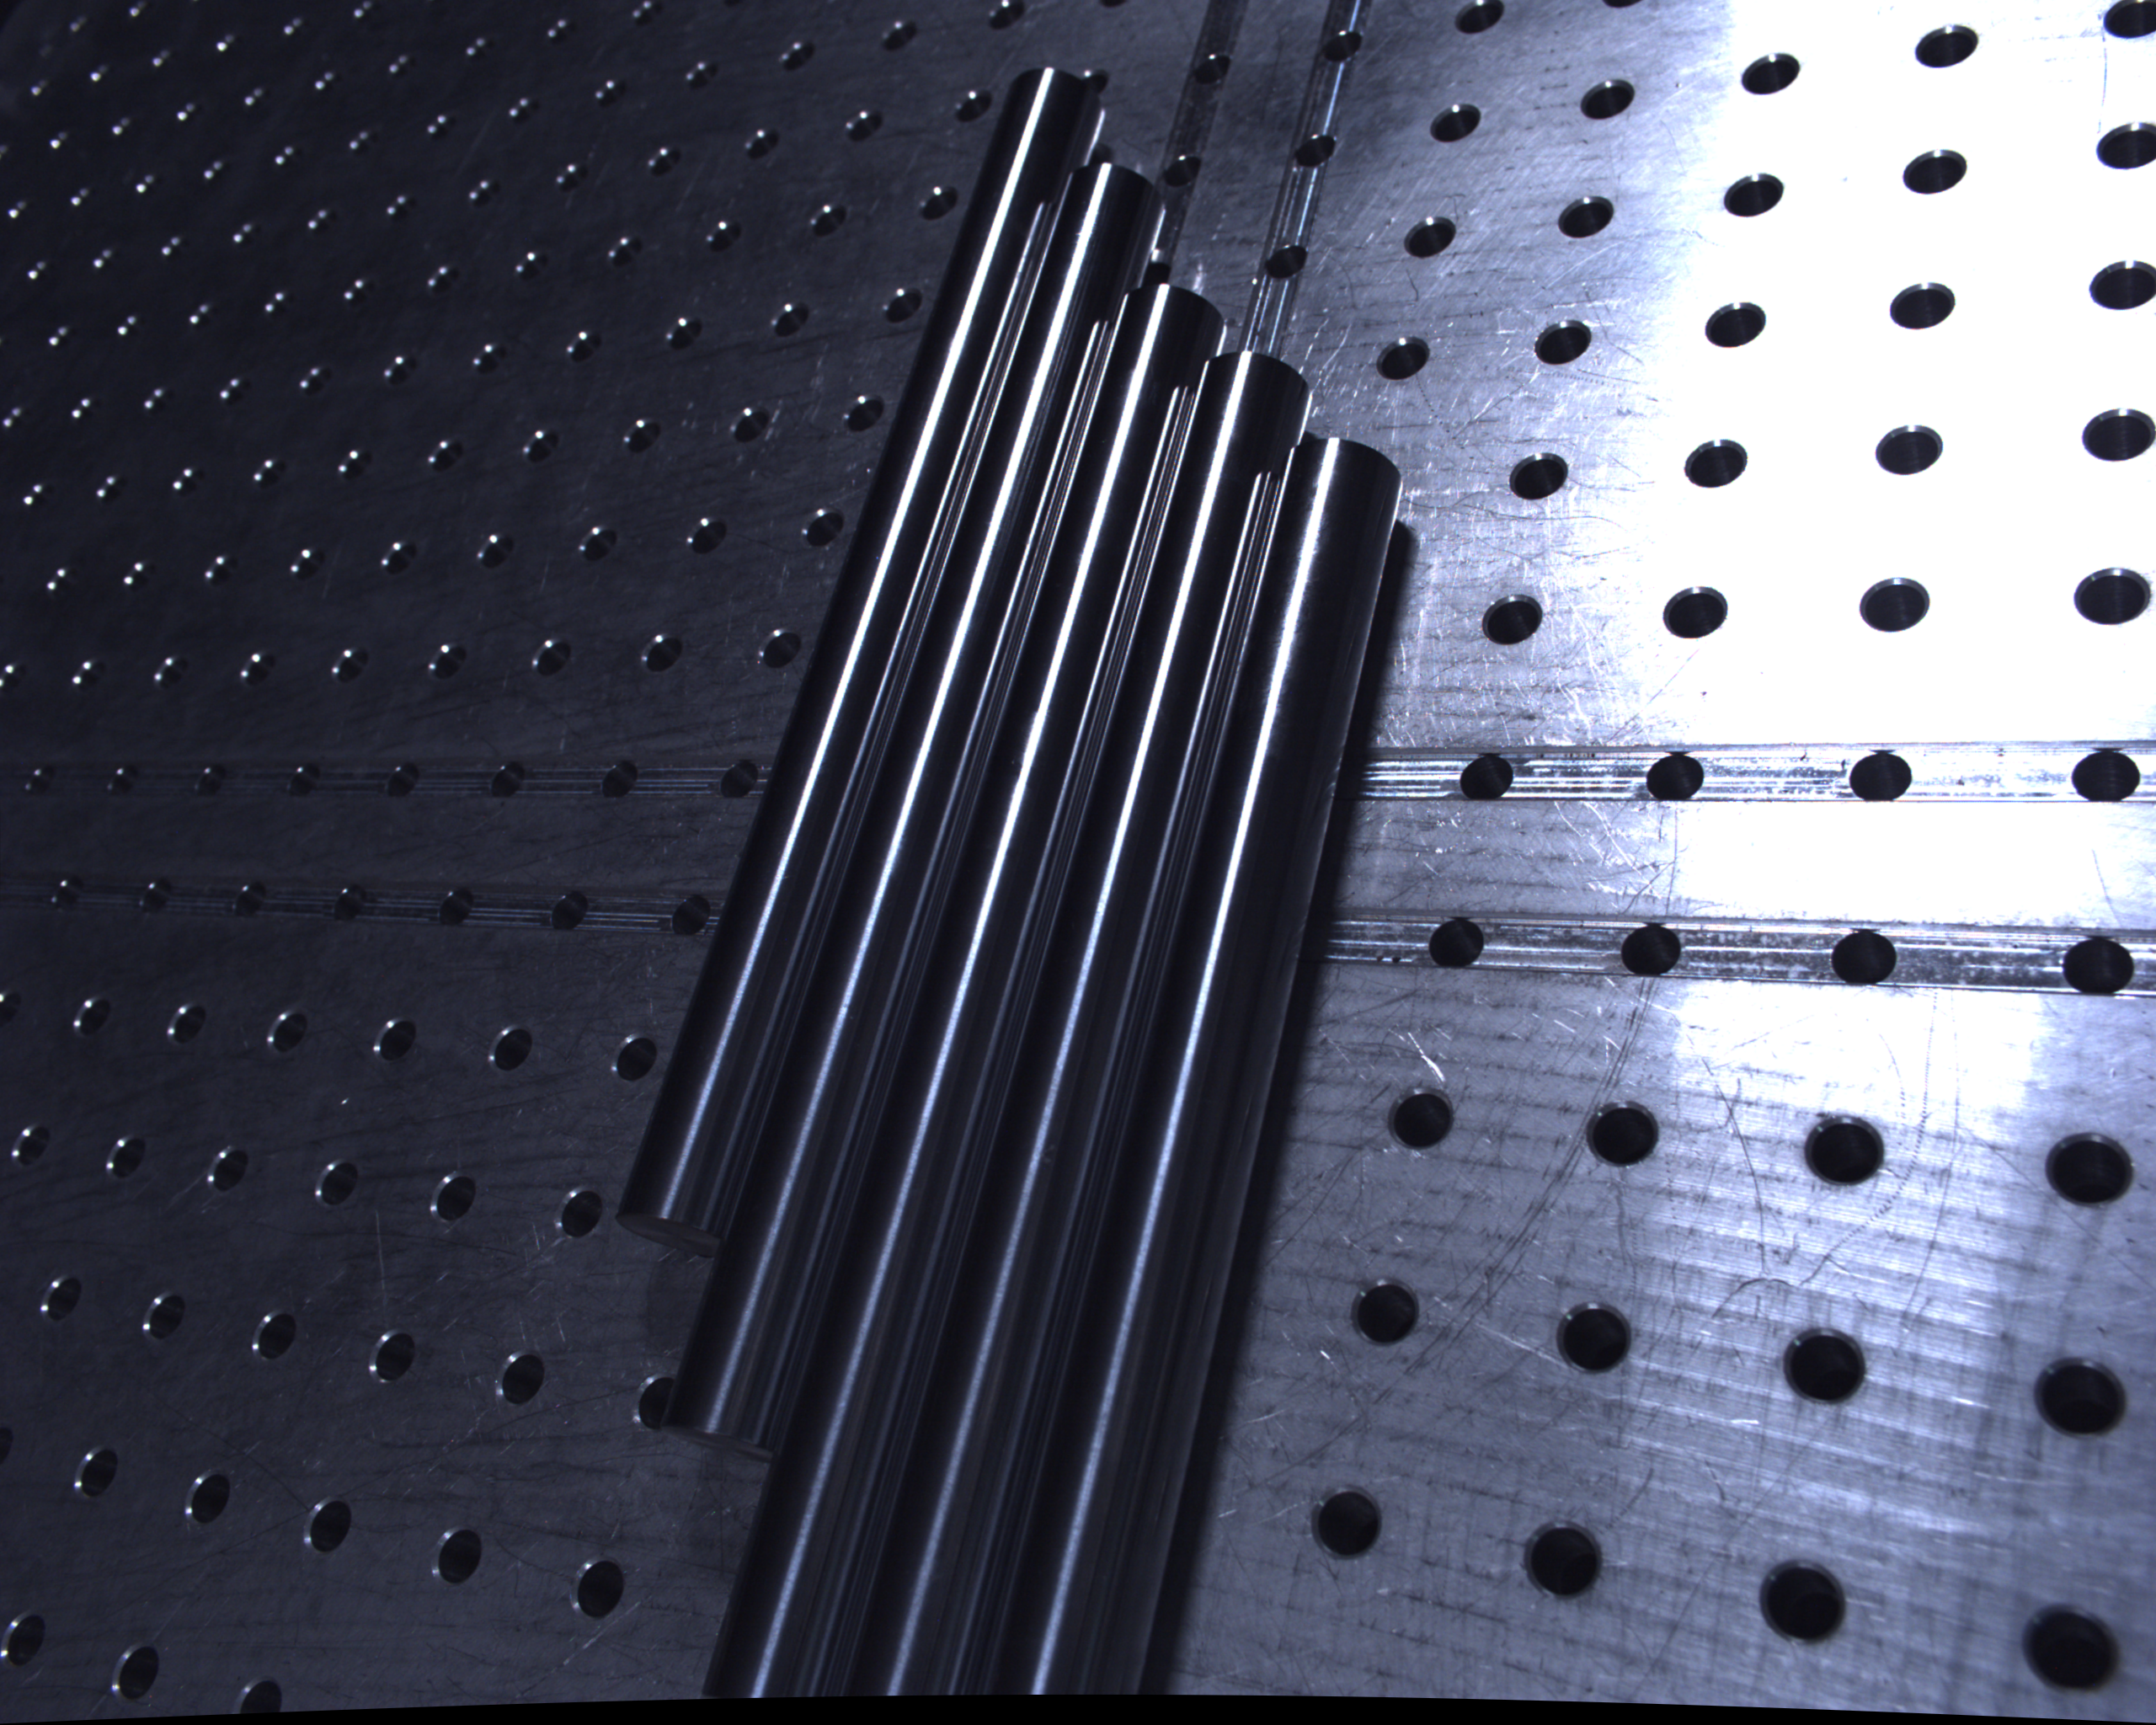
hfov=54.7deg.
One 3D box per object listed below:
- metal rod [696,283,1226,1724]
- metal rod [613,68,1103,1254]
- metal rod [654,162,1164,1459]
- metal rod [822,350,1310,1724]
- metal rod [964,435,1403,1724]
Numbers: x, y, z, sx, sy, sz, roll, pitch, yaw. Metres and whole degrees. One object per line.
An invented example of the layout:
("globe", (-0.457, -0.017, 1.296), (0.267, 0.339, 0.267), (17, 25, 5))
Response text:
("metal rod", (-0.015, 0.010, 0.408), (0.025, 0.025, 0.300), (1, 62, 28))
("metal rod", (-0.042, -0.059, 0.464), (0.025, 0.025, 0.300), (1, 62, 28))
("metal rod", (-0.028, -0.027, 0.436), (0.025, 0.025, 0.300), (1, 62, 28))
("metal rod", (0.001, 0.029, 0.387), (0.025, 0.025, 0.300), (1, 62, 28))
("metal rod", (0.018, 0.052, 0.365), (0.025, 0.025, 0.300), (1, 62, 28))
